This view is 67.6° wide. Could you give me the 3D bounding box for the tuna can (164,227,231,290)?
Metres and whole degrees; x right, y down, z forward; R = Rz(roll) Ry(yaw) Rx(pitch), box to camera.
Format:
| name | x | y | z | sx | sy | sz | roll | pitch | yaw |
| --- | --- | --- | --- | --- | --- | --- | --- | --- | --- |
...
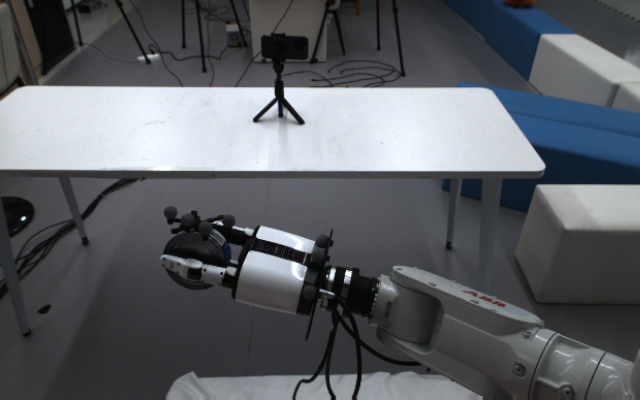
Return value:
| name | x | y | z | sx | sy | sz | roll | pitch | yaw |
| --- | --- | --- | --- | --- | --- | --- | --- | --- | --- |
| tuna can | -0.165 | 0.076 | 0.658 | 0.085 | 0.085 | 0.034 | 6 | 17 | 5 |
